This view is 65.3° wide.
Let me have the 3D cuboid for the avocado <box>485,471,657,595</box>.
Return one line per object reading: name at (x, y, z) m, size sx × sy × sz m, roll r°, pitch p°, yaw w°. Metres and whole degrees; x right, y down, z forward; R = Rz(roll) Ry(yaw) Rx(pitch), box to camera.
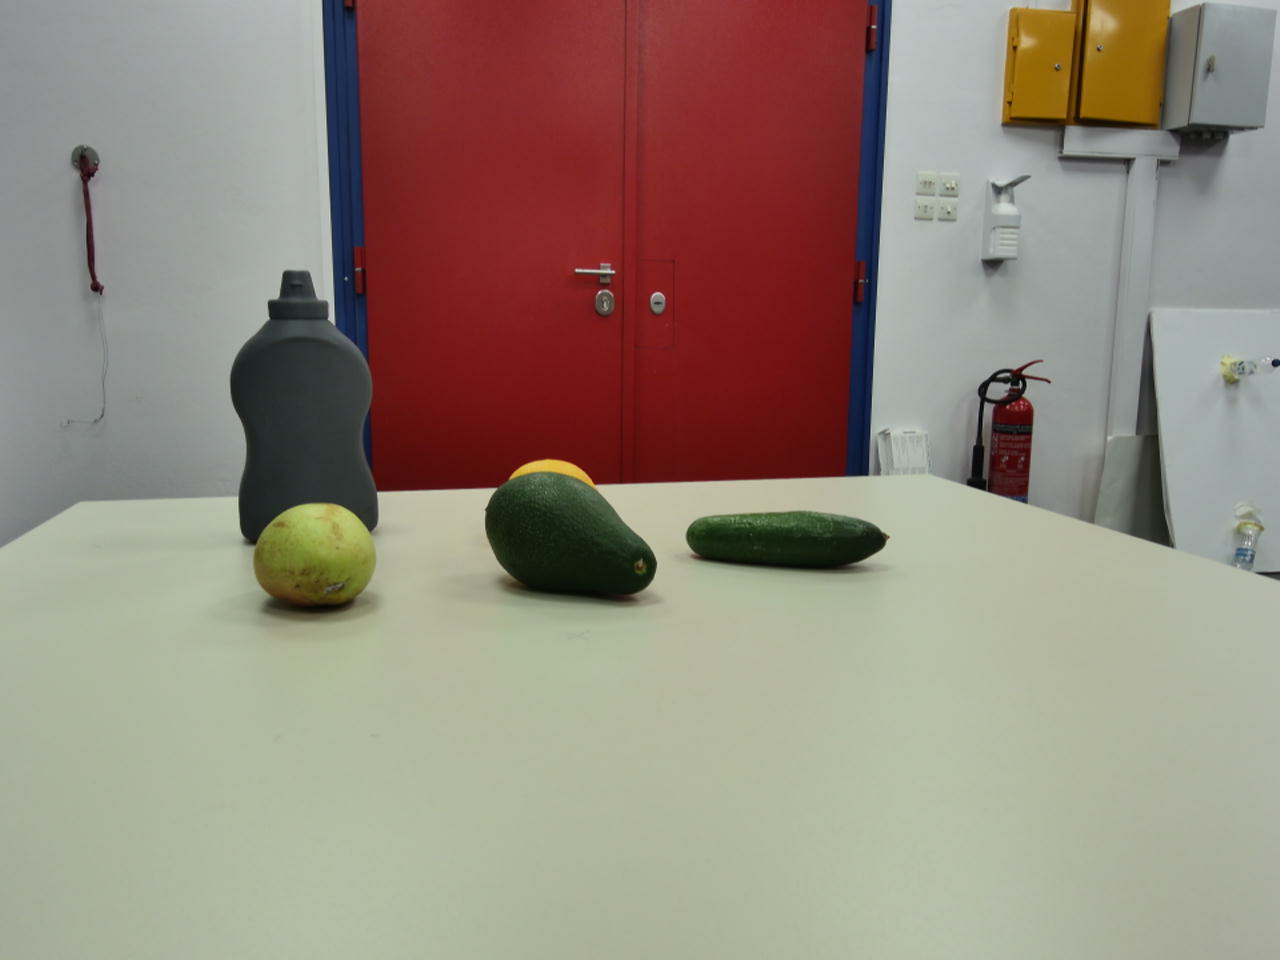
avocado at (-0.045, 0.031, 0.592) m, size 0.072 × 0.071 × 0.110 m, roll -4°, pitch 9°, yaw -35°
